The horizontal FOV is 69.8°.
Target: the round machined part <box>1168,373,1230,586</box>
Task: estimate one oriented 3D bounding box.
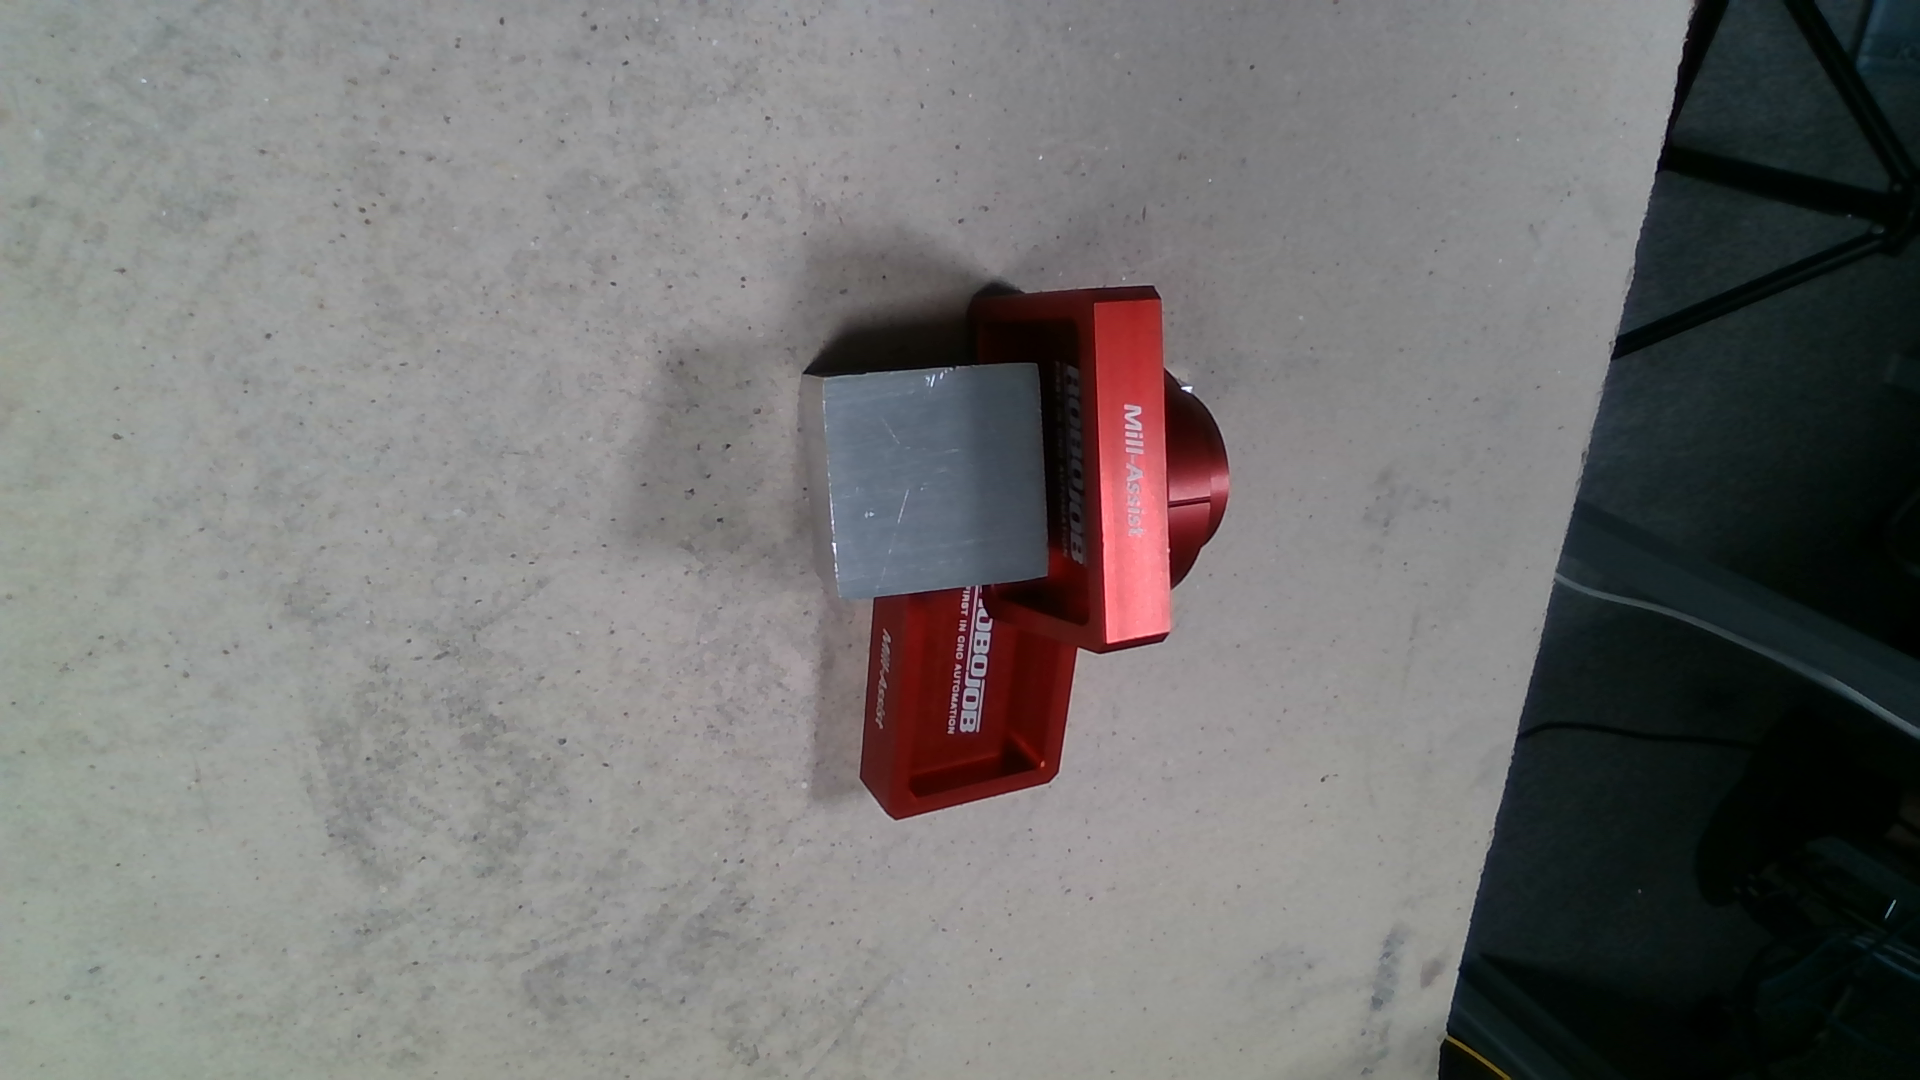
[{"bbox_3d":[0.070,-0.026,0.549,0.042,0.098,0.098,-9,119,-28],"label":"round machined part"}]

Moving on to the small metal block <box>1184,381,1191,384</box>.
[{"bbox_3d":[0.069,-0.046,0.599,0.050,0.025,0.050,-8,119,-28],"label":"small metal block"}]

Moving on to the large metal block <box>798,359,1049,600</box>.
[{"bbox_3d":[-0.014,-0.025,0.518,0.080,0.050,0.080,-6,100,-15],"label":"large metal block"}]

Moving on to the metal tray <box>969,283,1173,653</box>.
[{"bbox_3d":[0.041,-0.030,0.526,0.030,0.090,0.130,-8,100,-27],"label":"metal tray"}]

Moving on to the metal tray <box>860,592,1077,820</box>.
[{"bbox_3d":[0.006,0.054,0.610,0.090,0.030,0.130,-8,119,-28],"label":"metal tray"}]
